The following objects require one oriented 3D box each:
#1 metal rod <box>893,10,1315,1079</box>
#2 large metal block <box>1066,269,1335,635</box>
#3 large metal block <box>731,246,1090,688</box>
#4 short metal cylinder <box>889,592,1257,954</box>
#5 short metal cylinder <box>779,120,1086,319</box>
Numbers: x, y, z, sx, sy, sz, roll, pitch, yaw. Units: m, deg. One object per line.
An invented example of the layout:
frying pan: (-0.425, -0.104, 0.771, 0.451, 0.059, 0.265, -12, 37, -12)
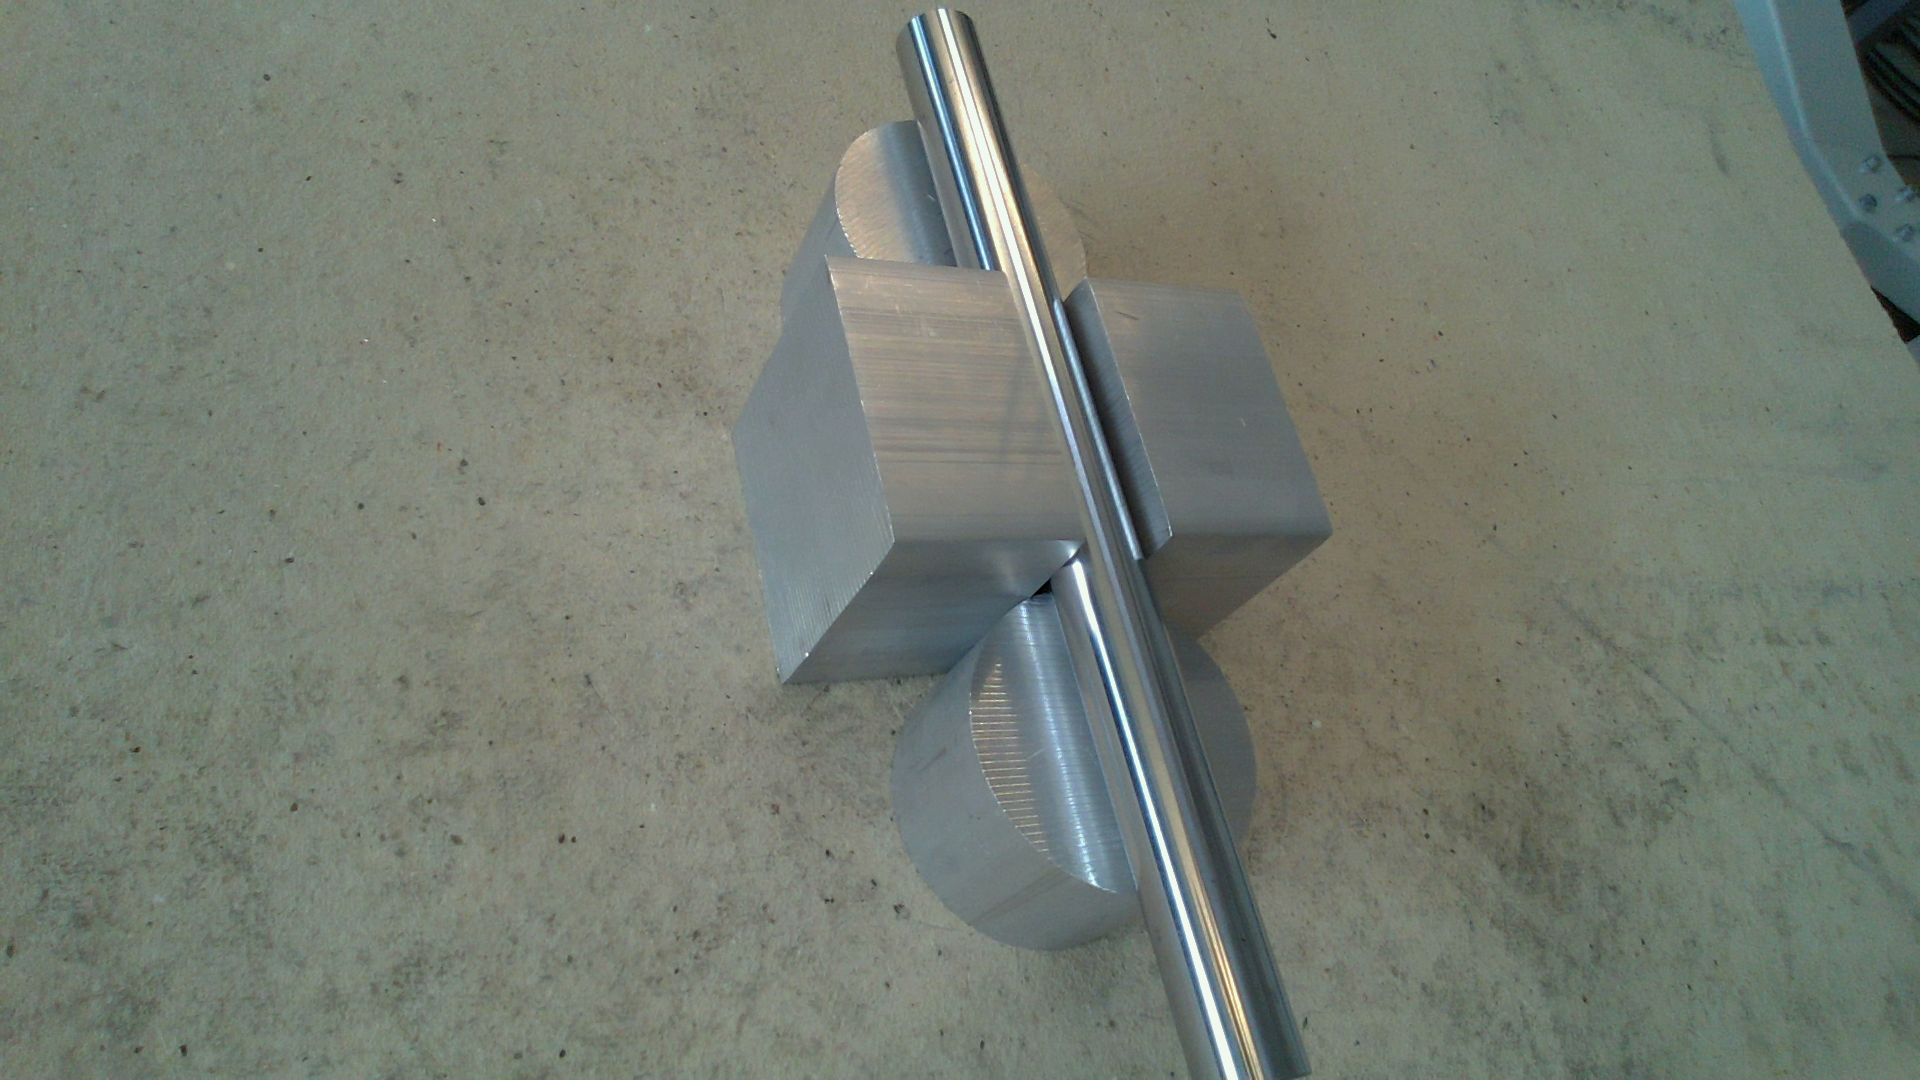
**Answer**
metal rod: (0.027, -0.017, 0.350, 0.025, 0.025, 0.300, -1, 62, -28)
large metal block: (0.049, -0.018, 0.392, 0.050, 0.080, 0.080, -1, 62, -28)
large metal block: (-0.018, -0.016, 0.355, 0.050, 0.080, 0.080, -1, 62, -28)
short metal cylinder: (0.028, 0.059, 0.353, 0.080, 0.050, 0.080, 14, 55, -20)
short metal cylinder: (-0.009, -0.079, 0.417, 0.080, 0.050, 0.080, 14, 55, -20)
